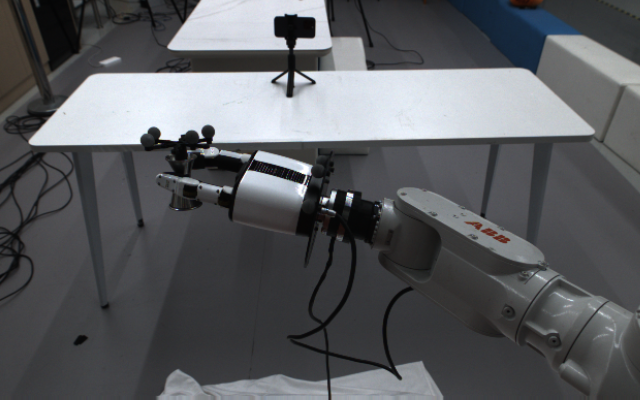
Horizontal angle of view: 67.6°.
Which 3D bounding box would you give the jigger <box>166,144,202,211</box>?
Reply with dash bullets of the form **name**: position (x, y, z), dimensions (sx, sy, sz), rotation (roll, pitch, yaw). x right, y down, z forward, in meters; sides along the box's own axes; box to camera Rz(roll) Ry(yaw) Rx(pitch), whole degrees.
- **jigger**: position (-0.181, -0.024, 0.643), dimensions (0.043, 0.071, 0.043), rotation (0, 22, 0)
